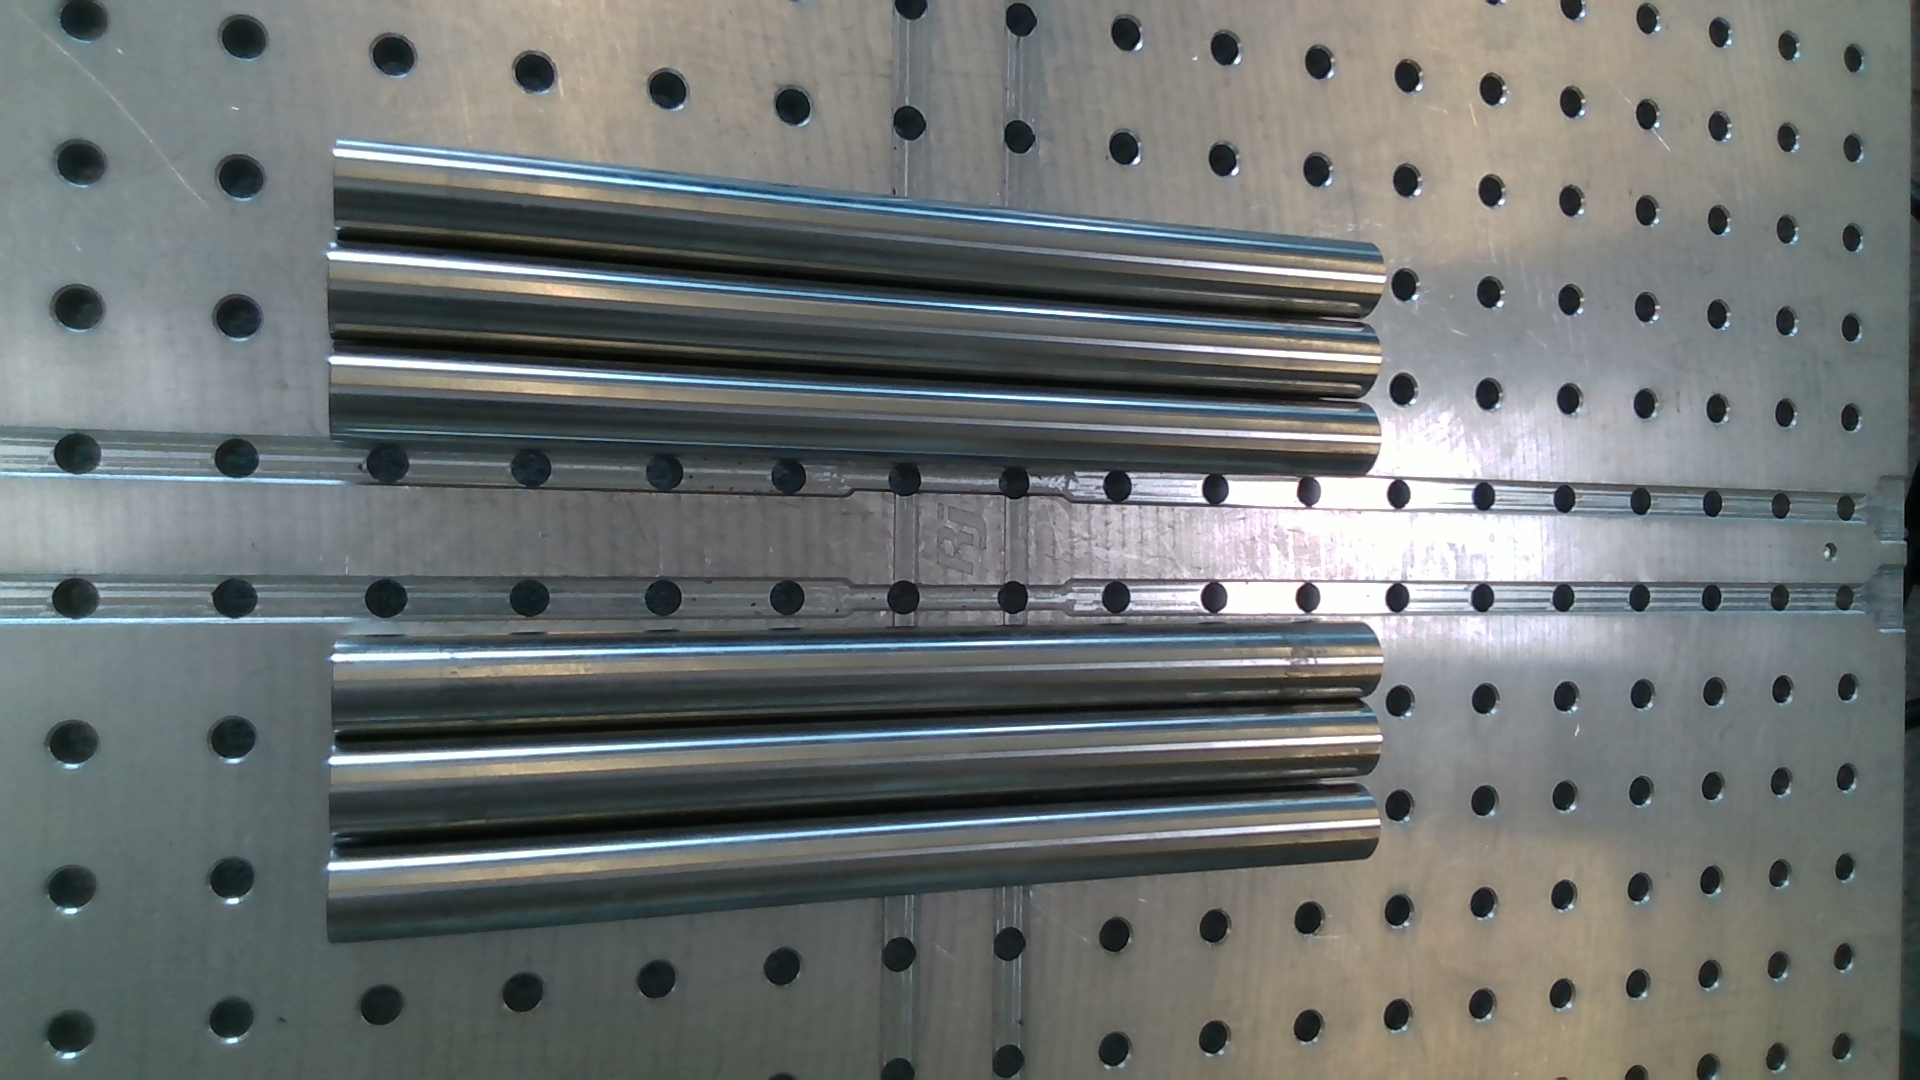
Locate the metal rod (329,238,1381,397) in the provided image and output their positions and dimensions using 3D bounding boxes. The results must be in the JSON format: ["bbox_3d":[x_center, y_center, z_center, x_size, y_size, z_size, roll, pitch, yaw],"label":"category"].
[{"bbox_3d":[-0.014,-0.060,0.391,0.300,0.025,0.025,1,90,-20],"label":"metal rod"}]

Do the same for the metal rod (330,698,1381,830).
[{"bbox_3d":[-0.013,0.061,0.391,0.300,0.025,0.025,1,90,-20],"label":"metal rod"}]

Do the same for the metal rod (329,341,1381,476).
[{"bbox_3d":[-0.013,-0.035,0.391,0.300,0.025,0.025,1,90,-20],"label":"metal rod"}]

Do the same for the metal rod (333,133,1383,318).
[{"bbox_3d":[-0.013,-0.085,0.391,0.300,0.025,0.025,1,90,-20],"label":"metal rod"}]

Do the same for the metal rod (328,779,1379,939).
[{"bbox_3d":[-0.014,0.087,0.391,0.300,0.025,0.025,1,90,-20],"label":"metal rod"}]

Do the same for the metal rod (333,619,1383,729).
[{"bbox_3d":[-0.013,0.036,0.391,0.300,0.025,0.025,1,90,-20],"label":"metal rod"}]
